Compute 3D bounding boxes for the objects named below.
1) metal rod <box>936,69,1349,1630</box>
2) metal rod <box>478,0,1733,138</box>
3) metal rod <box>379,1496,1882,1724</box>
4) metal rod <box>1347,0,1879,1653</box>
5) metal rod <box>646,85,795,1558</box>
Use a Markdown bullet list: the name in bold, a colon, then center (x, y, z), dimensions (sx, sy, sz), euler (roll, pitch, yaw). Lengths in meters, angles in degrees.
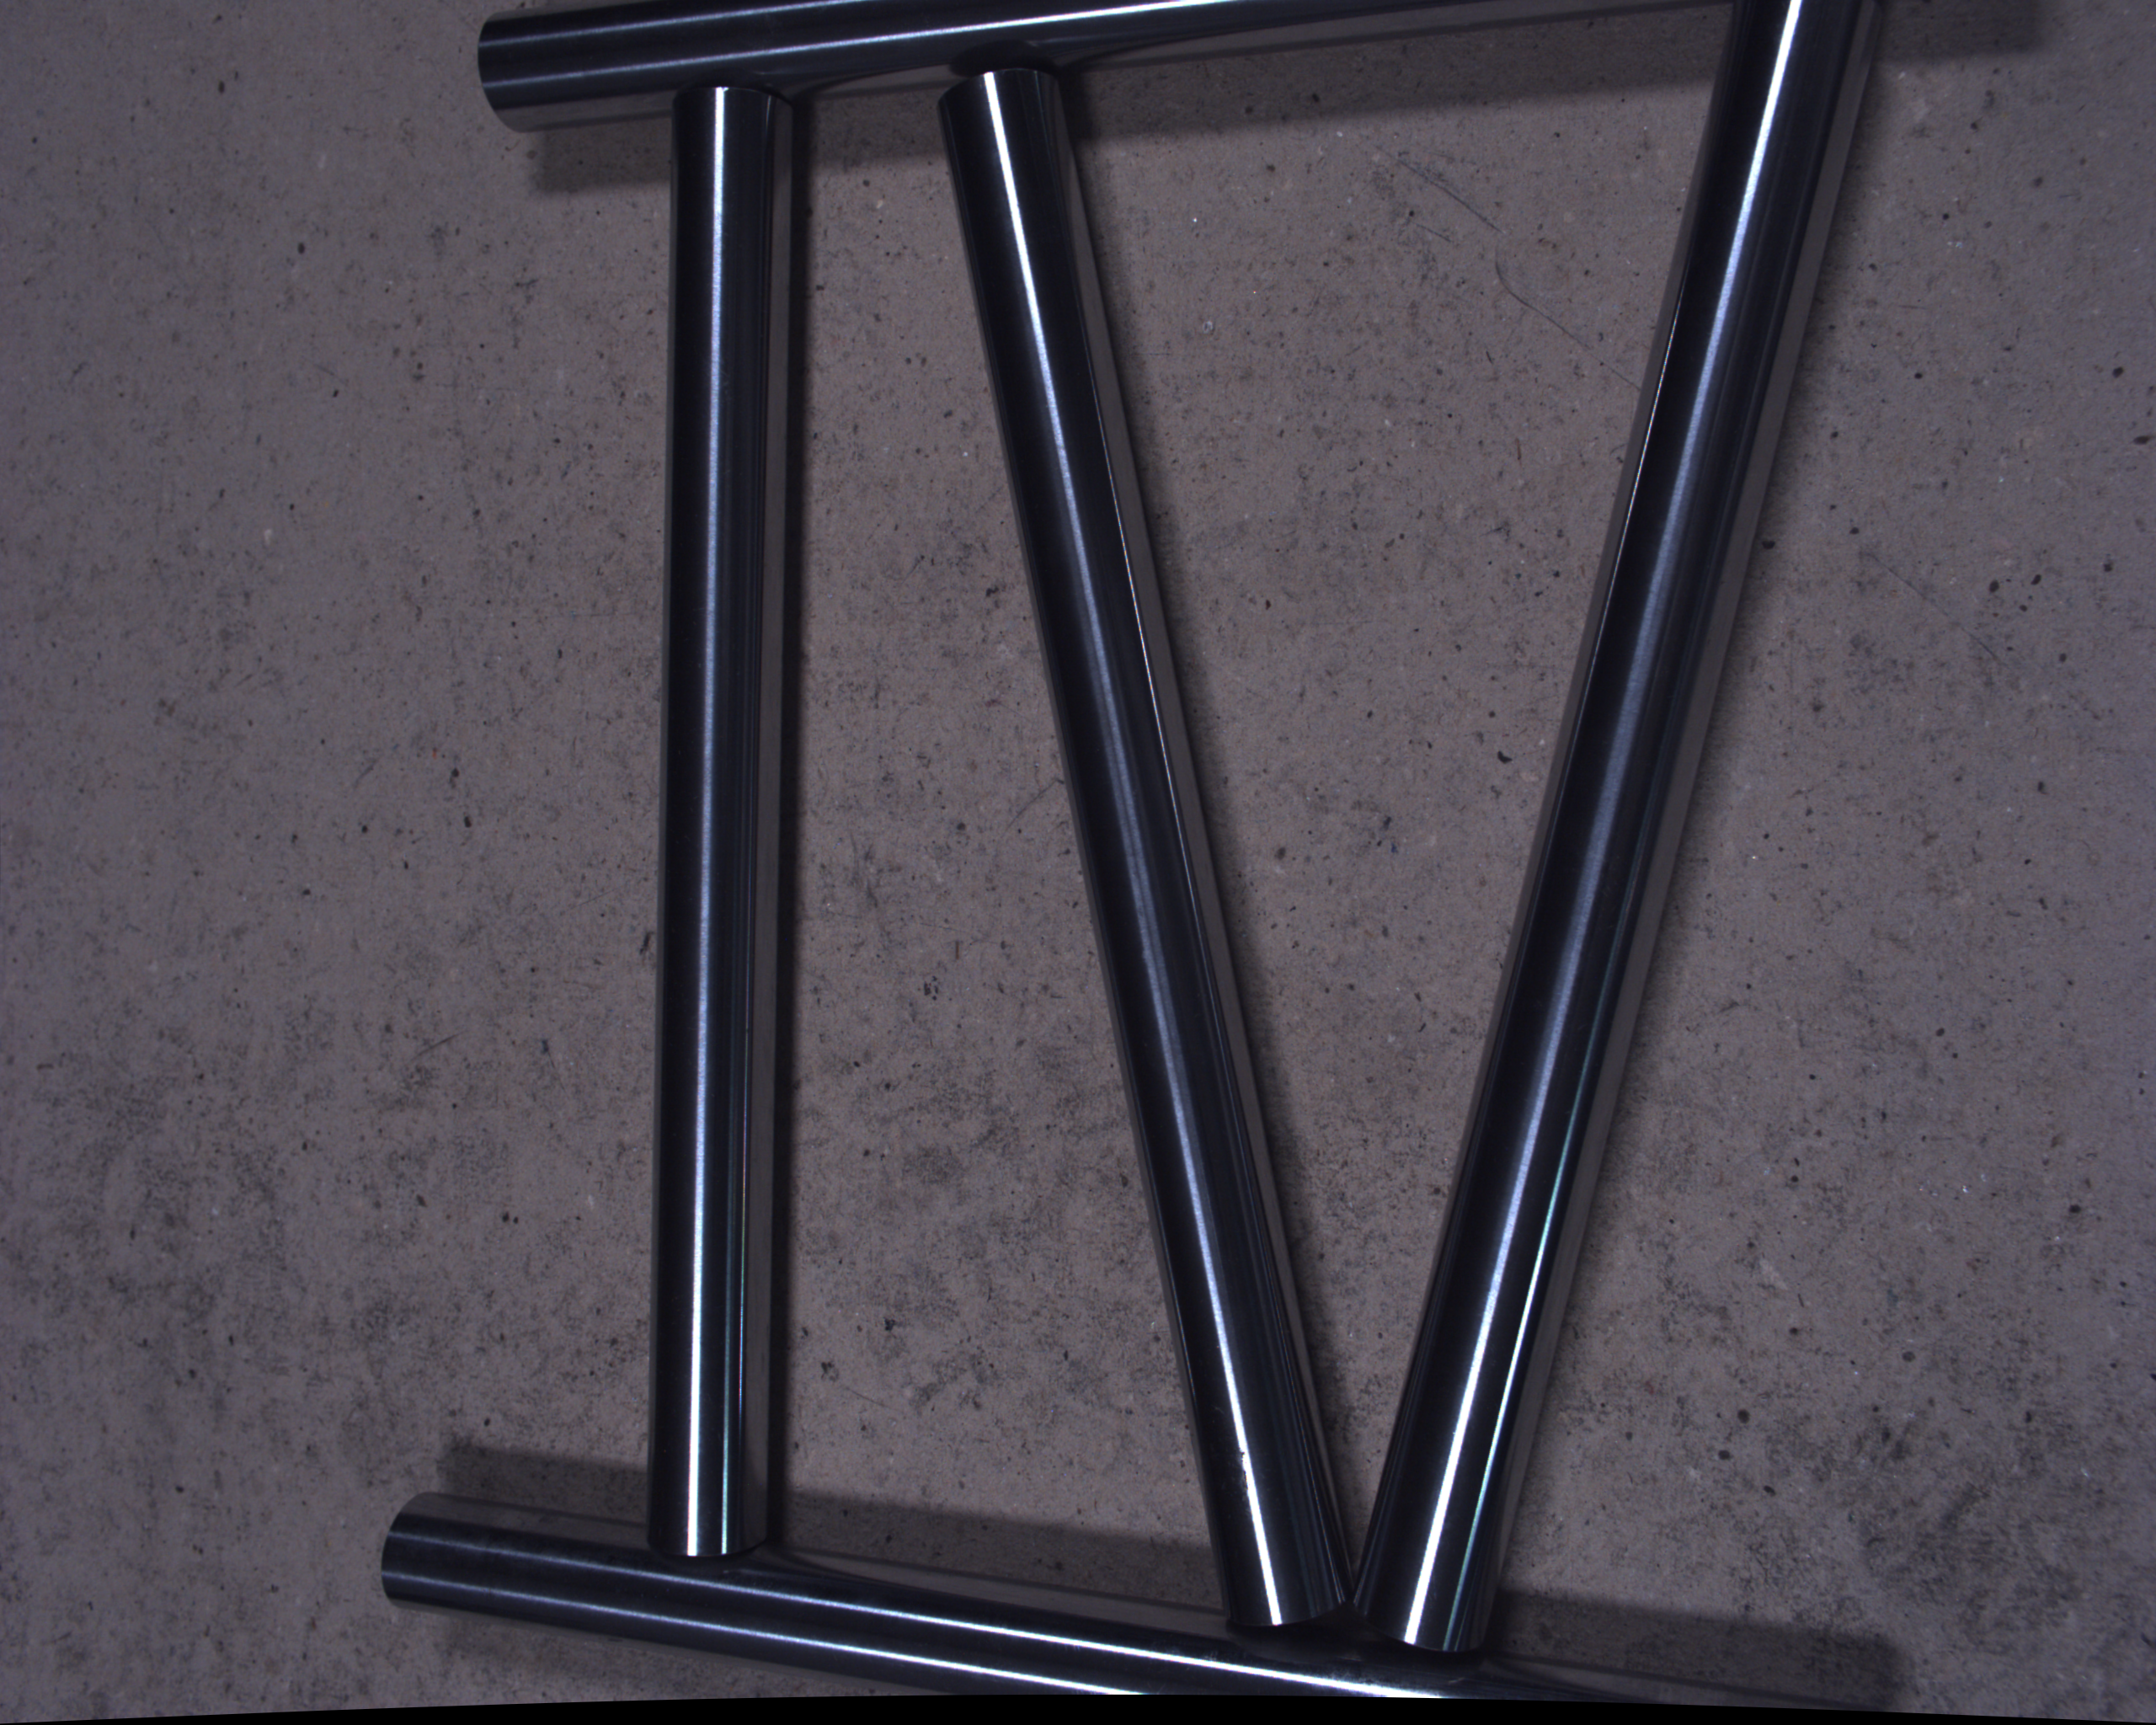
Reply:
- **metal rod**: center (0.012, -0.006, 0.404), dimensions (0.025, 0.025, 0.298), euler (-12, 86, 19)
- **metal rod**: center (0.020, -0.167, 0.402), dimensions (0.301, 0.025, 0.025), euler (1, 91, 19)
- **metal rod**: center (-0.004, 0.155, 0.410), dimensions (0.301, 0.025, 0.025), euler (1, 91, 19)
- **metal rod**: center (0.095, -0.005, 0.376), dimensions (0.025, 0.025, 0.298), euler (14, 94, 19)
- **metal rod**: center (-0.074, -0.008, 0.434), dimensions (0.025, 0.025, 0.298), euler (1, 90, 19)
